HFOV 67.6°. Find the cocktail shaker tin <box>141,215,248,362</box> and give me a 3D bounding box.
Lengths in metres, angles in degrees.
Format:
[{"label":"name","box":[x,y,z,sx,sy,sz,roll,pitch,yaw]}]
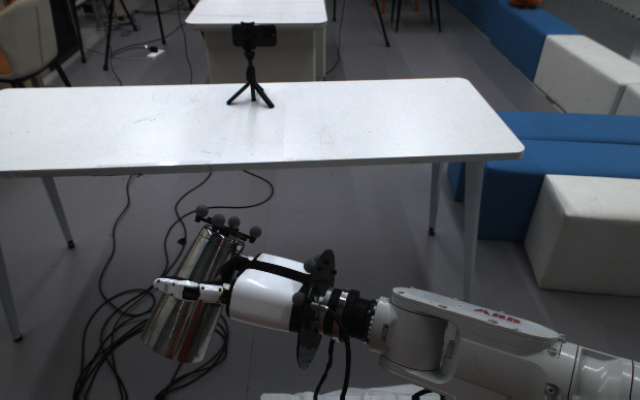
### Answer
[{"label":"cocktail shaker tin","box":[-0.167,0.123,0.669,0.093,0.170,0.093,23,0,0]}]
